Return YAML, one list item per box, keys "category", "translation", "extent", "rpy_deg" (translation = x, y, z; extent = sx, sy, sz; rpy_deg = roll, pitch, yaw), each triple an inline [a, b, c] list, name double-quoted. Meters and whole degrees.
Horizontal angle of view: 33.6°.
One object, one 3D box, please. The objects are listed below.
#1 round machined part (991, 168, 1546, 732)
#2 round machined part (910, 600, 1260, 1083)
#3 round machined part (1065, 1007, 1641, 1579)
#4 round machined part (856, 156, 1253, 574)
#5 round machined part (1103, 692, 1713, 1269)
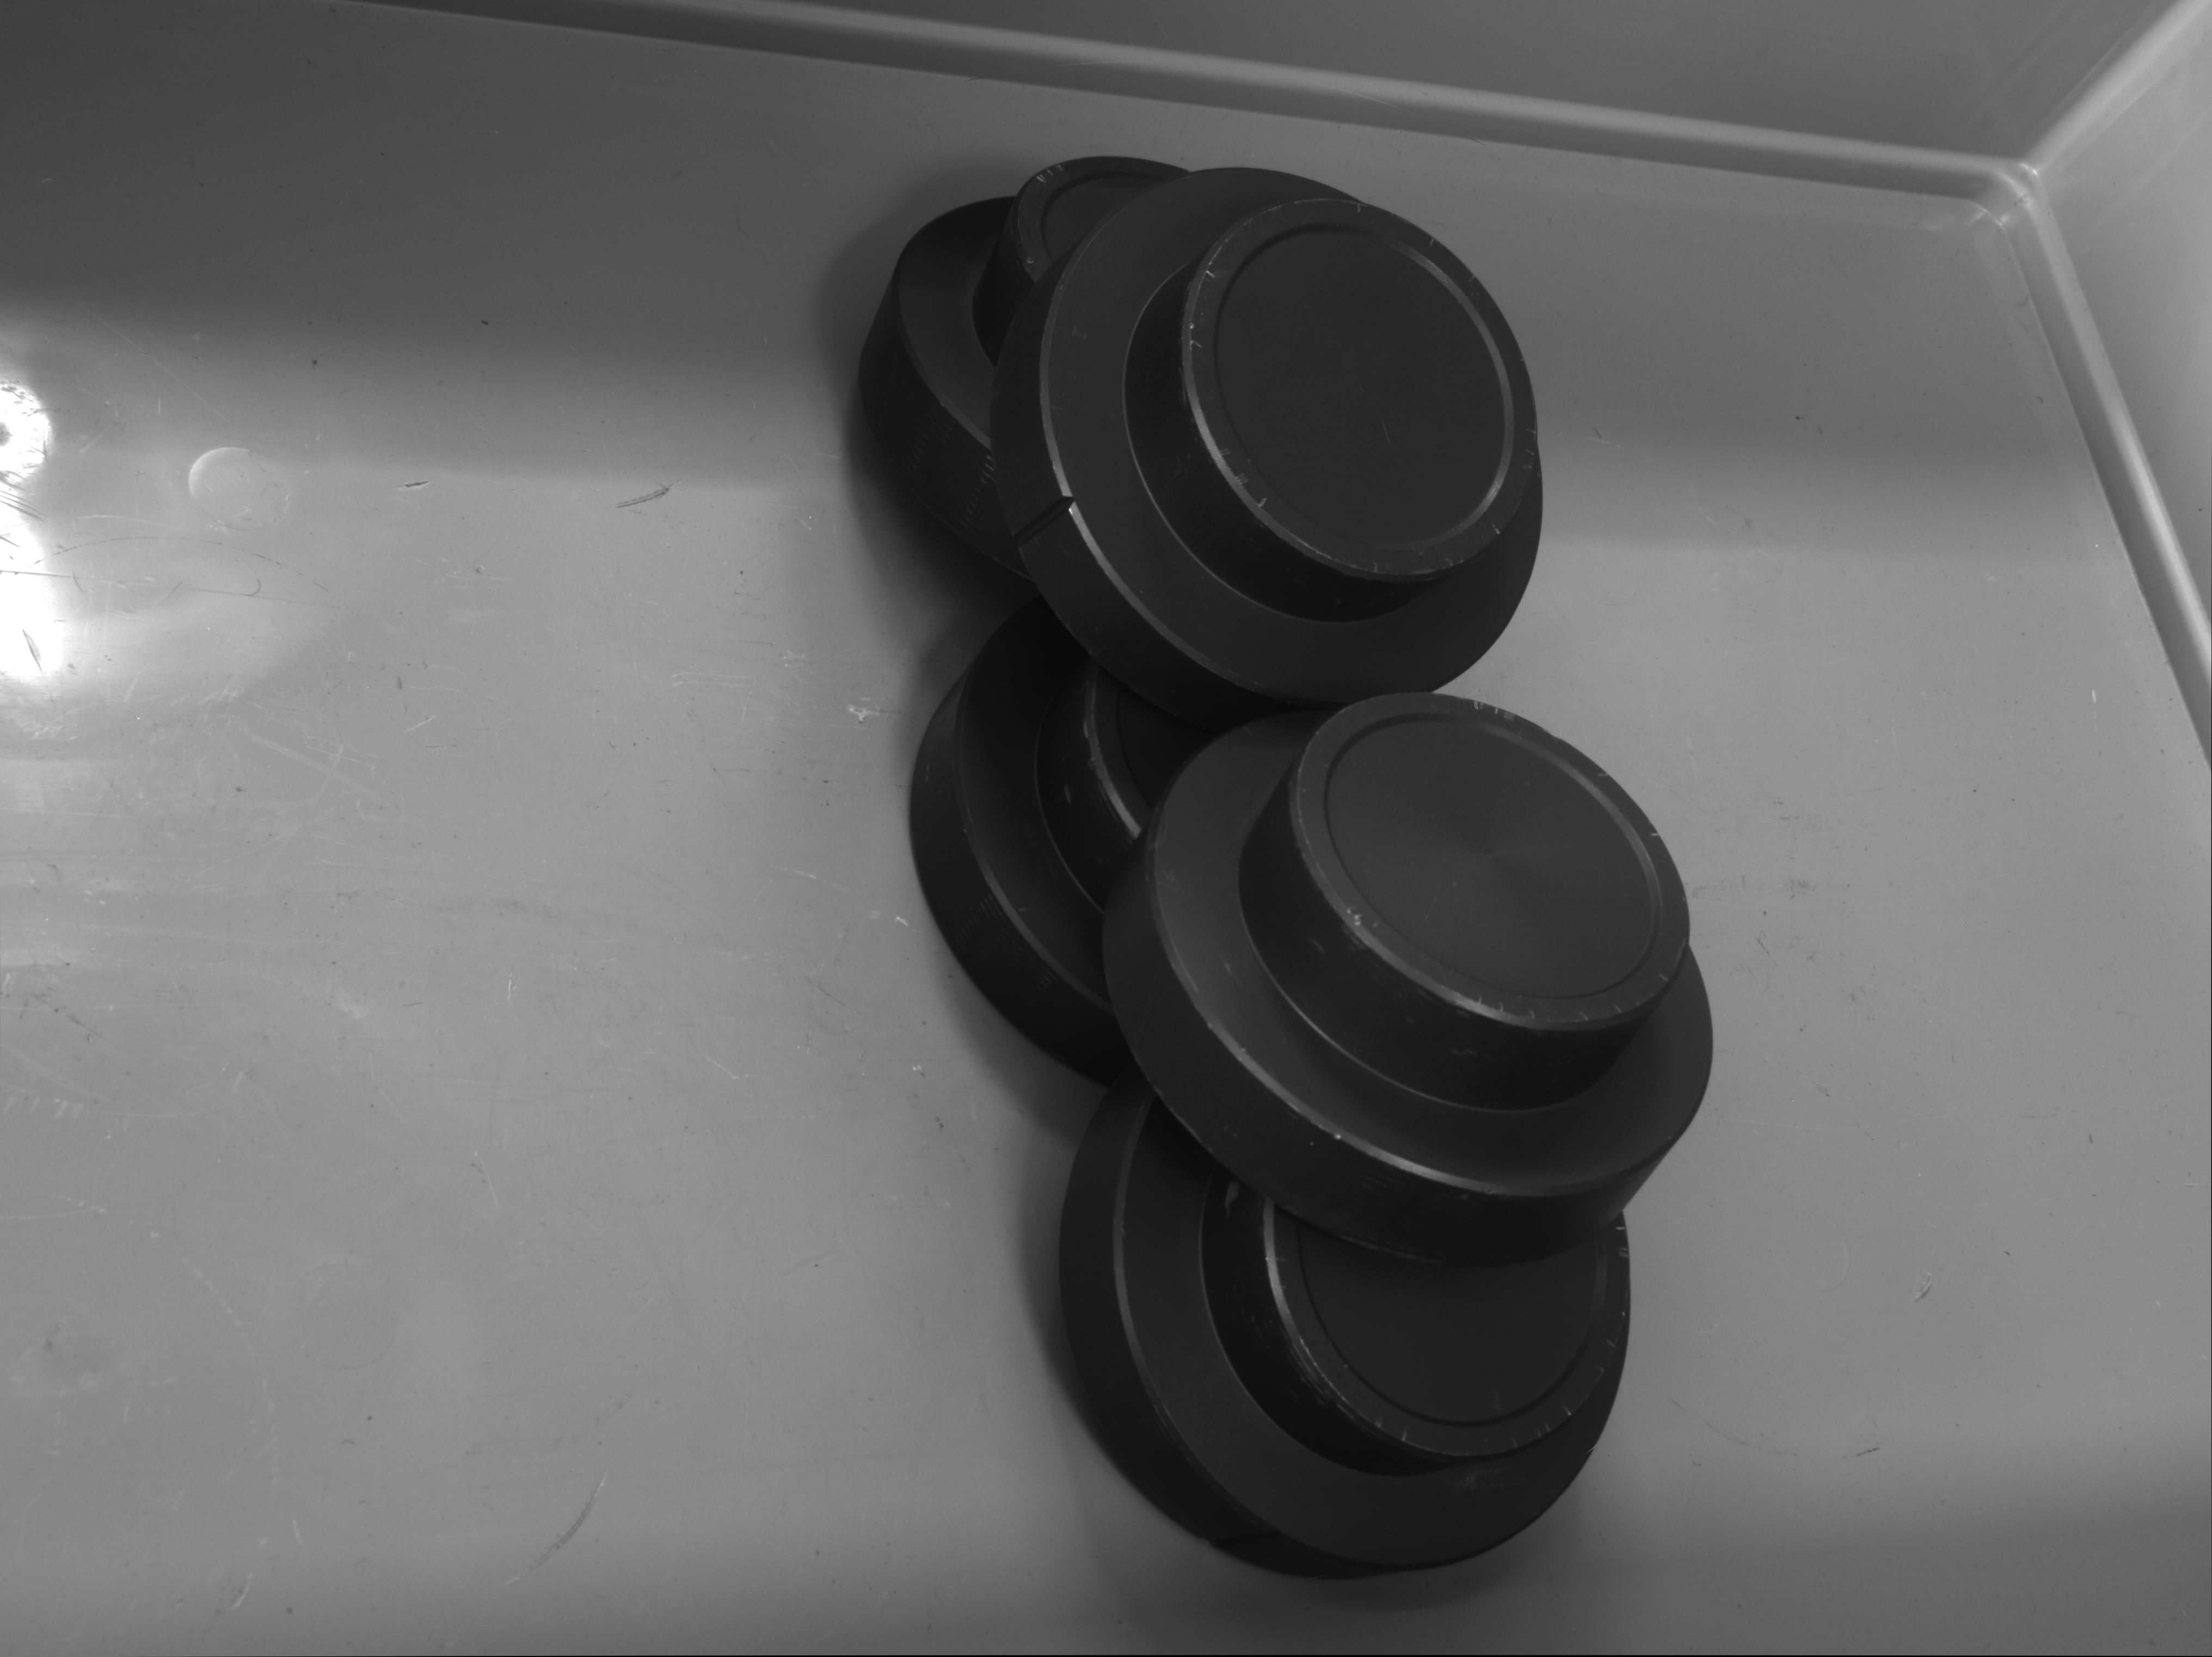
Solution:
- category: "round machined part"
  translation: [0.033, -0.067, 0.619]
  extent: [0.098, 0.042, 0.098]
  rpy_deg: [9, 70, -25]
- category: "round machined part"
  translation: [0.019, -0.004, 0.639]
  extent: [0.098, 0.042, 0.098]
  rpy_deg: [14, 55, -20]
- category: "round machined part"
  translation: [0.046, 0.070, 0.591]
  extent: [0.098, 0.042, 0.098]
  rpy_deg: [8, 73, -26]
- category: "round machined part"
  translation: [0.007, -0.085, 0.669]
  extent: [0.098, 0.042, 0.098]
  rpy_deg: [15, 40, -13]
- category: "round machined part"
  translation: [0.052, 0.017, 0.579]
  extent: [0.098, 0.042, 0.098]
  rpy_deg: [15, 45, -15]
